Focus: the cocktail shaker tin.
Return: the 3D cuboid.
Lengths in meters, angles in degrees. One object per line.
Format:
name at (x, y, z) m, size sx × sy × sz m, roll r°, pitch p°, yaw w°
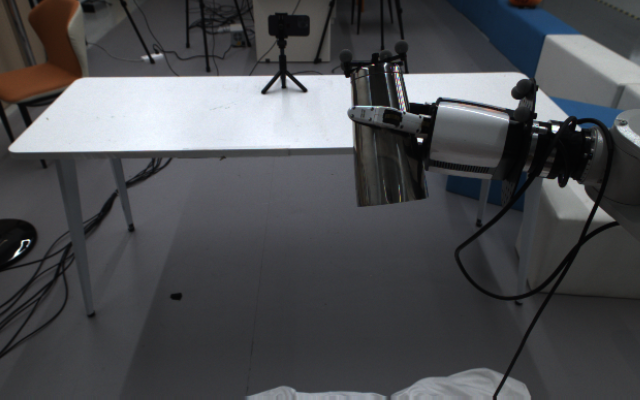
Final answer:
cocktail shaker tin at (0.083, -0.082, 0.620) m, size 0.093 × 0.170 × 0.093 m, roll -8°, pitch 1°, yaw 0°
